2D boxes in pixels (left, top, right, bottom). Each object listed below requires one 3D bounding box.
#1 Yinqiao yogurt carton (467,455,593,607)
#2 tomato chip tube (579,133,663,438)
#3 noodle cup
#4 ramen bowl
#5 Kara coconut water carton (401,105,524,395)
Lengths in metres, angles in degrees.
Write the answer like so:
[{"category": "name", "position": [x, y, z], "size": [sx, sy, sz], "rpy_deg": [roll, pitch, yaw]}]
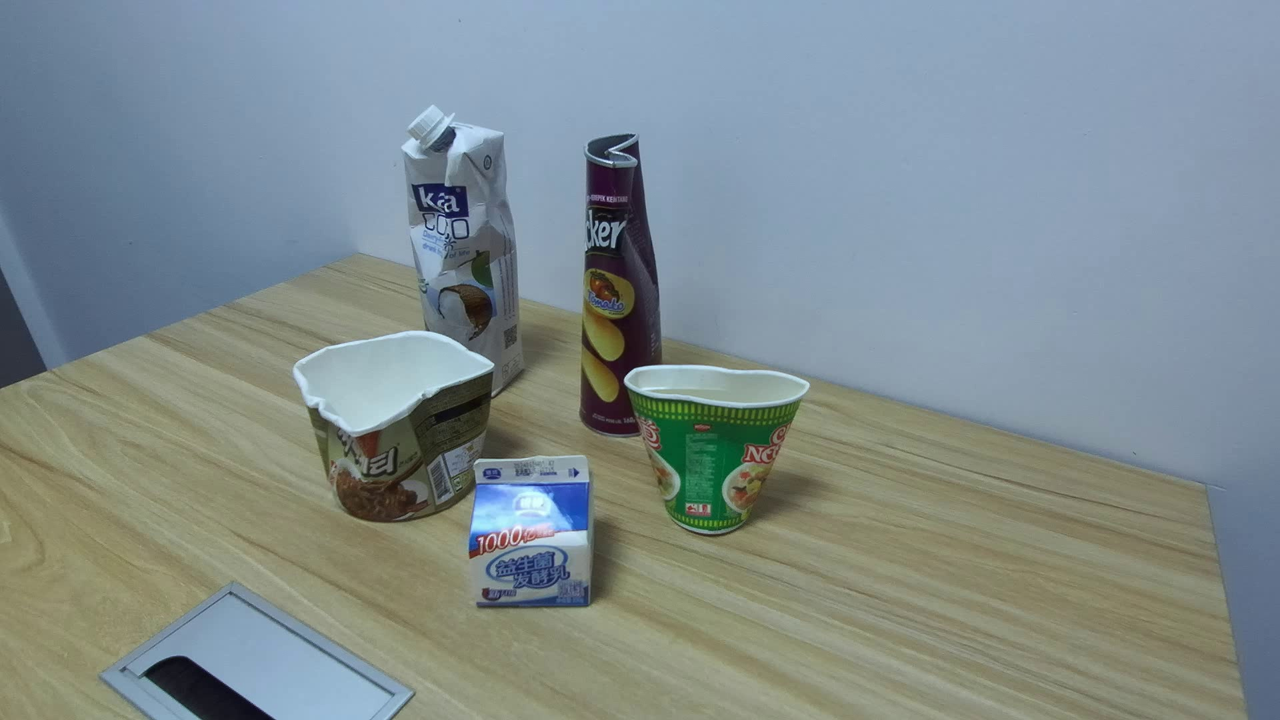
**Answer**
[{"category": "Yinqiao yogurt carton", "position": [-0.068, 0.099, 0.451], "size": [0.075, 0.092, 0.073], "rpy_deg": [-1, 29, -1]}, {"category": "tomato chip tube", "position": [-0.013, -0.054, 0.575], "size": [0.078, 0.235, 0.076], "rpy_deg": [-20, 35, -33]}, {"category": "noodle cup", "position": [0.049, 0.059, 0.498], "size": [0.114, 0.111, 0.070], "rpy_deg": [15, 35, 22]}, {"category": "ramen bowl", "position": [-0.190, 0.046, 0.535], "size": [0.133, 0.097, 0.114], "rpy_deg": [20, 37, 27]}, {"category": "Kara coconut water carton", "position": [-0.156, -0.093, 0.618], "size": [0.083, 0.256, 0.078], "rpy_deg": [20, 37, 28]}]
